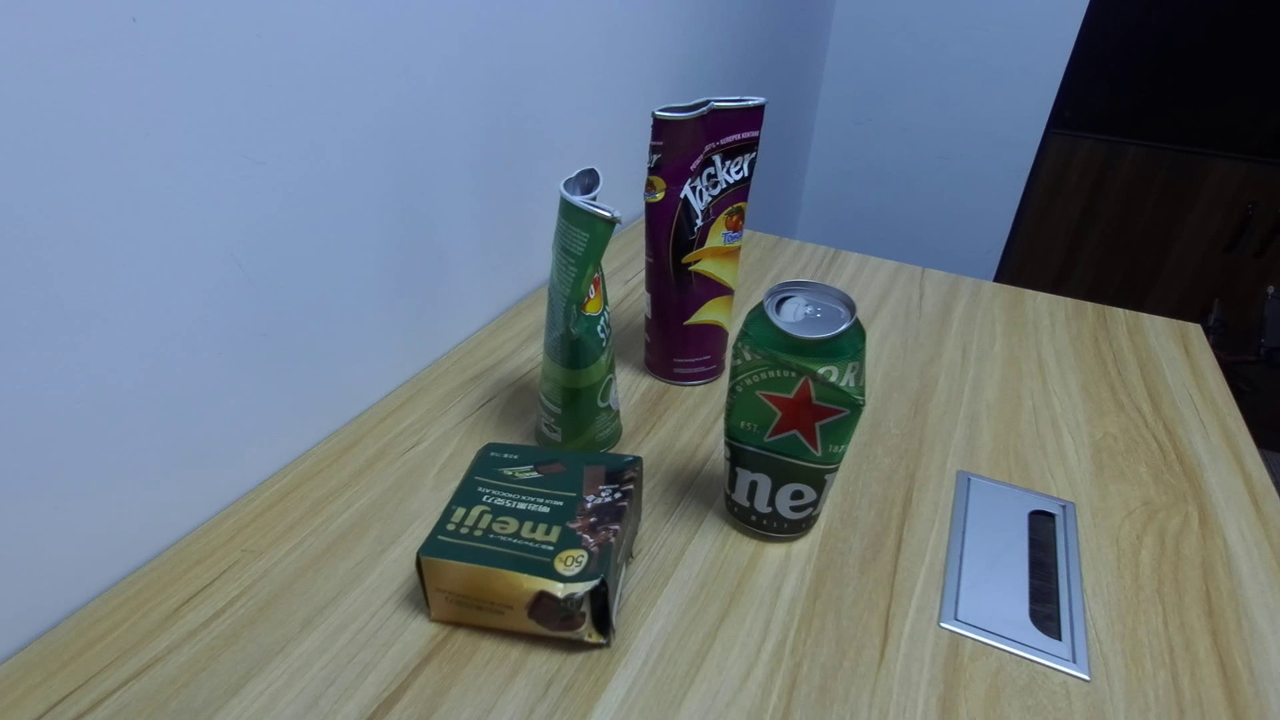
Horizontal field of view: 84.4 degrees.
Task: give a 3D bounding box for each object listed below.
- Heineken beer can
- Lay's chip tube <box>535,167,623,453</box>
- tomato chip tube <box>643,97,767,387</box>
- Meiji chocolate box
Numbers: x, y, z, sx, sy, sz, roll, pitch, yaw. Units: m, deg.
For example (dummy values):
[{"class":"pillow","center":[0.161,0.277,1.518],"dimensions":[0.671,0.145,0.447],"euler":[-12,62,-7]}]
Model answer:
[{"class":"Heineken beer can","center":[0.095,0.037,0.449],"dimensions":[0.069,0.168,0.068],"euler":[-14,38,-22]},{"class":"Lay's chip tube","center":[-0.042,-0.028,0.509],"dimensions":[0.069,0.201,0.077],"euler":[-21,42,-34]},{"class":"tomato chip tube","center":[0.048,-0.095,0.596],"dimensions":[0.090,0.236,0.078],"euler":[9,35,3]},{"class":"Meiji chocolate box","center":[-0.062,0.107,0.433],"dimensions":[0.115,0.058,0.122],"euler":[6,31,10]}]
